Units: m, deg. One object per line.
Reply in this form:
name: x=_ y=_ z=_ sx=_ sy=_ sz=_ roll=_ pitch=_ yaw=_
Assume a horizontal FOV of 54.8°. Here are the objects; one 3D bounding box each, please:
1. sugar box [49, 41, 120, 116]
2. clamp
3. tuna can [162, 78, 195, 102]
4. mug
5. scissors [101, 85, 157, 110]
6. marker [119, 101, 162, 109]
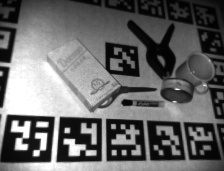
sugar box: x=-0.067 y=-0.021 z=0.544 sx=0.093 sy=0.045 sz=0.175 roll=-36 pitch=79 yaw=-25
clamp: x=0.137 y=-0.111 z=0.664 sx=0.167 sy=0.036 sz=0.202 roll=-7 pitch=74 yaw=-20
tuna can: x=0.183 y=0.015 z=0.595 sx=0.086 sy=0.085 sz=0.033 roll=19 pitch=66 yaw=-10
mug: x=0.237 y=-0.031 z=0.635 sx=0.094 sy=0.081 sz=0.116 roll=-25 pitch=76 yaw=-24
scissors: x=0.032 y=0.011 z=0.582 sx=0.205 sy=0.016 sz=0.087 roll=-7 pitch=70 yaw=-22
marker: x=0.078 y=0.053 z=0.584 sx=0.122 sy=0.019 sz=0.019 roll=-1 pitch=72 yaw=-18
